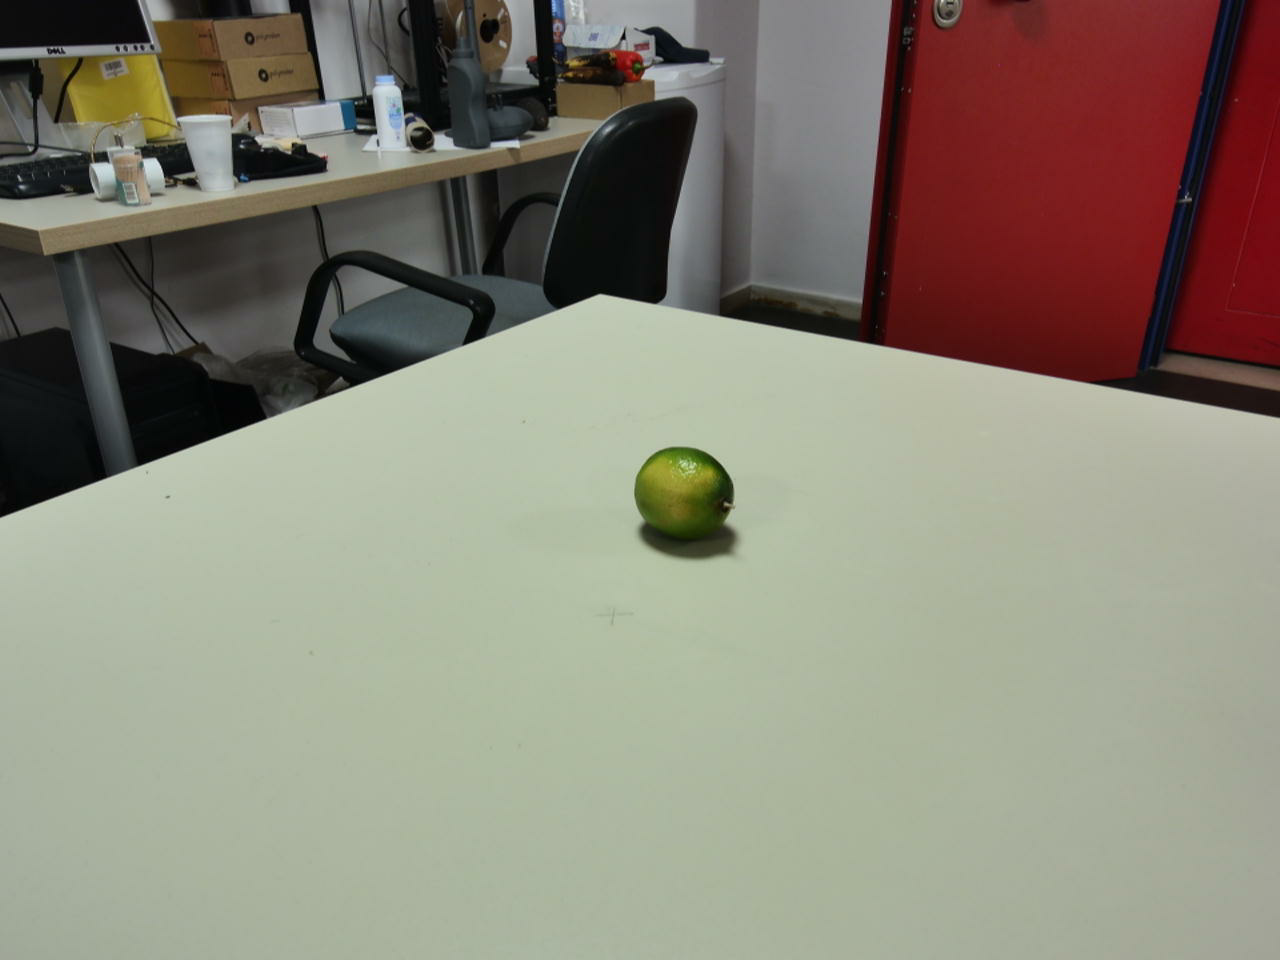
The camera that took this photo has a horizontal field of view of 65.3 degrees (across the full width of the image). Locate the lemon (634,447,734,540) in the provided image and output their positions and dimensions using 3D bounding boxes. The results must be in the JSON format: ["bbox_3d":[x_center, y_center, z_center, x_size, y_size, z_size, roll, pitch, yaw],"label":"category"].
[{"bbox_3d":[0.024,0.007,0.557,0.054,0.050,0.055,-1,24,-3],"label":"lemon"}]
